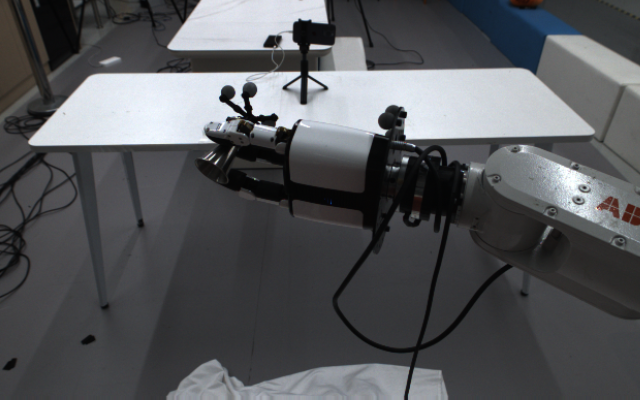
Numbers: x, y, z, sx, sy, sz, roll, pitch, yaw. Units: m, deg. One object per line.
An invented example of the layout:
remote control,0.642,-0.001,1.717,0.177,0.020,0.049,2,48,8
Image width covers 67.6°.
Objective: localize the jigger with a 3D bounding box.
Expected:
jigger,-0.107,-0.060,0.556,0.043,0.043,0.071,19,62,23
